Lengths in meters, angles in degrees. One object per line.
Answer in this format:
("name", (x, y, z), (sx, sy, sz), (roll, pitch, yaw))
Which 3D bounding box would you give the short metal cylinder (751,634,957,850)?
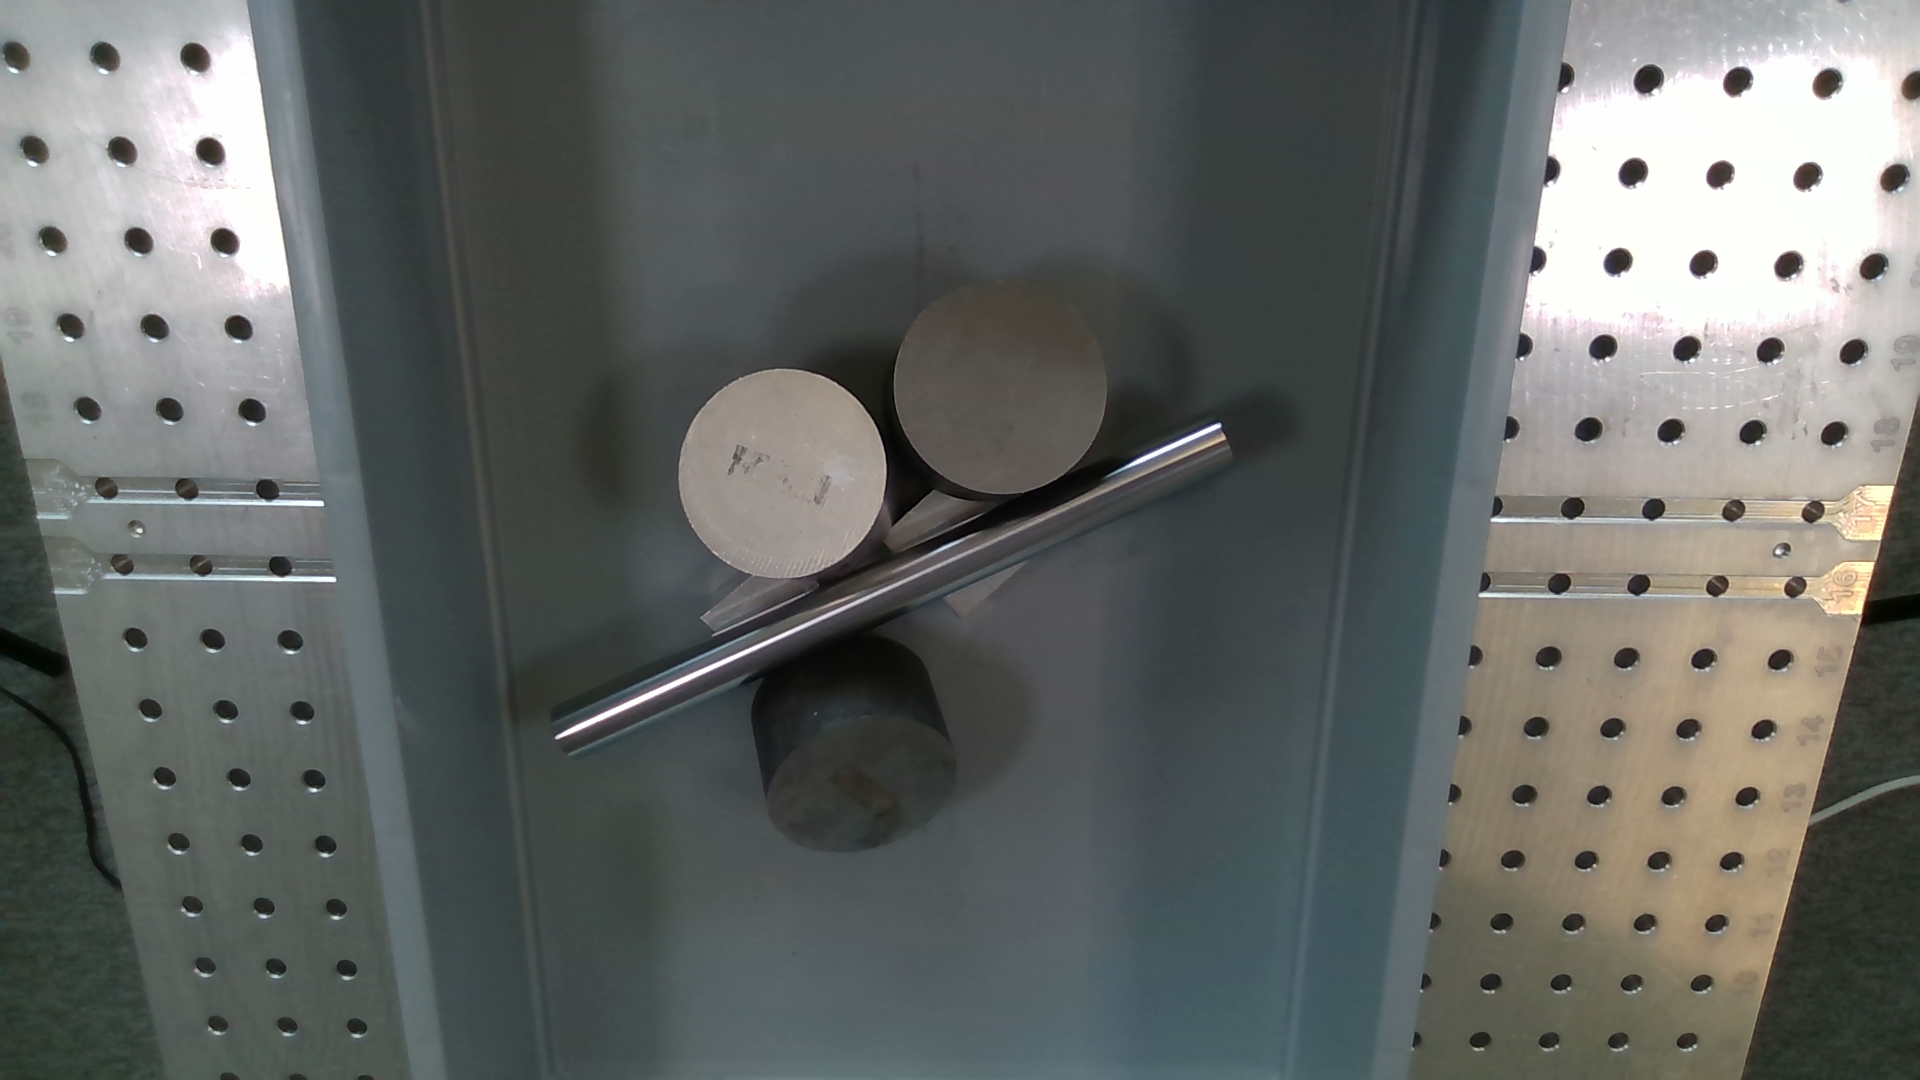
("short metal cylinder", (-0.046, 0.087, 0.589), (0.080, 0.050, 0.080), (-9, 130, -11))

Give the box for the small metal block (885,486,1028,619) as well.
("small metal block", (0.002, -0.004, 0.582), (0.050, 0.025, 0.050), (-41, 105, 14))

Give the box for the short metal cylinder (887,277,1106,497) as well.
("short metal cylinder", (0.012, -0.057, 0.535), (0.080, 0.050, 0.080), (0, 89, -8))

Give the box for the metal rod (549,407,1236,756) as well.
("metal rod", (-0.032, 0.020, 0.564), (0.300, 0.025, 0.025), (-24, 108, 8))

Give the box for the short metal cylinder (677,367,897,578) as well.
("short metal cylinder", (-0.066, -0.025, 0.547), (0.080, 0.050, 0.080), (0, 88, 4))

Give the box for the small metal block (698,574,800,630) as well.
("small metal block", (-0.076, 0.031, 0.595), (0.050, 0.025, 0.050), (-39, 106, 13))
